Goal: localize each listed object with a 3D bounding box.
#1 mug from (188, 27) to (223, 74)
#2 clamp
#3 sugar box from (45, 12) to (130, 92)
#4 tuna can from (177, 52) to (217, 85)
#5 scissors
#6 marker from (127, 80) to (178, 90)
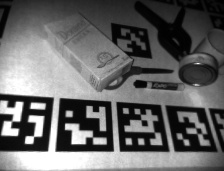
[{"bbox_3d":[0.251,-0.078,0.546,0.094,0.081,0.116,-22,68,-26],"label":"mug"},{"bbox_3d":[0.152,-0.152,0.589,0.167,0.036,0.201,-5,65,-20],"label":"clamp"},{"bbox_3d":[-0.055,-0.078,0.460,0.093,0.045,0.175,-32,70,-29],"label":"sugar box"},{"bbox_3d":[0.197,-0.038,0.502,0.086,0.085,0.033,19,58,-6],"label":"tuna can"},{"bbox_3d":[0.046,-0.042,0.492,0.205,0.016,0.087,-5,61,-22],"label":"scissors"},{"bbox_3d":[0.091,-0.001,0.487,0.122,0.019,0.019,1,63,-16],"label":"marker"}]
